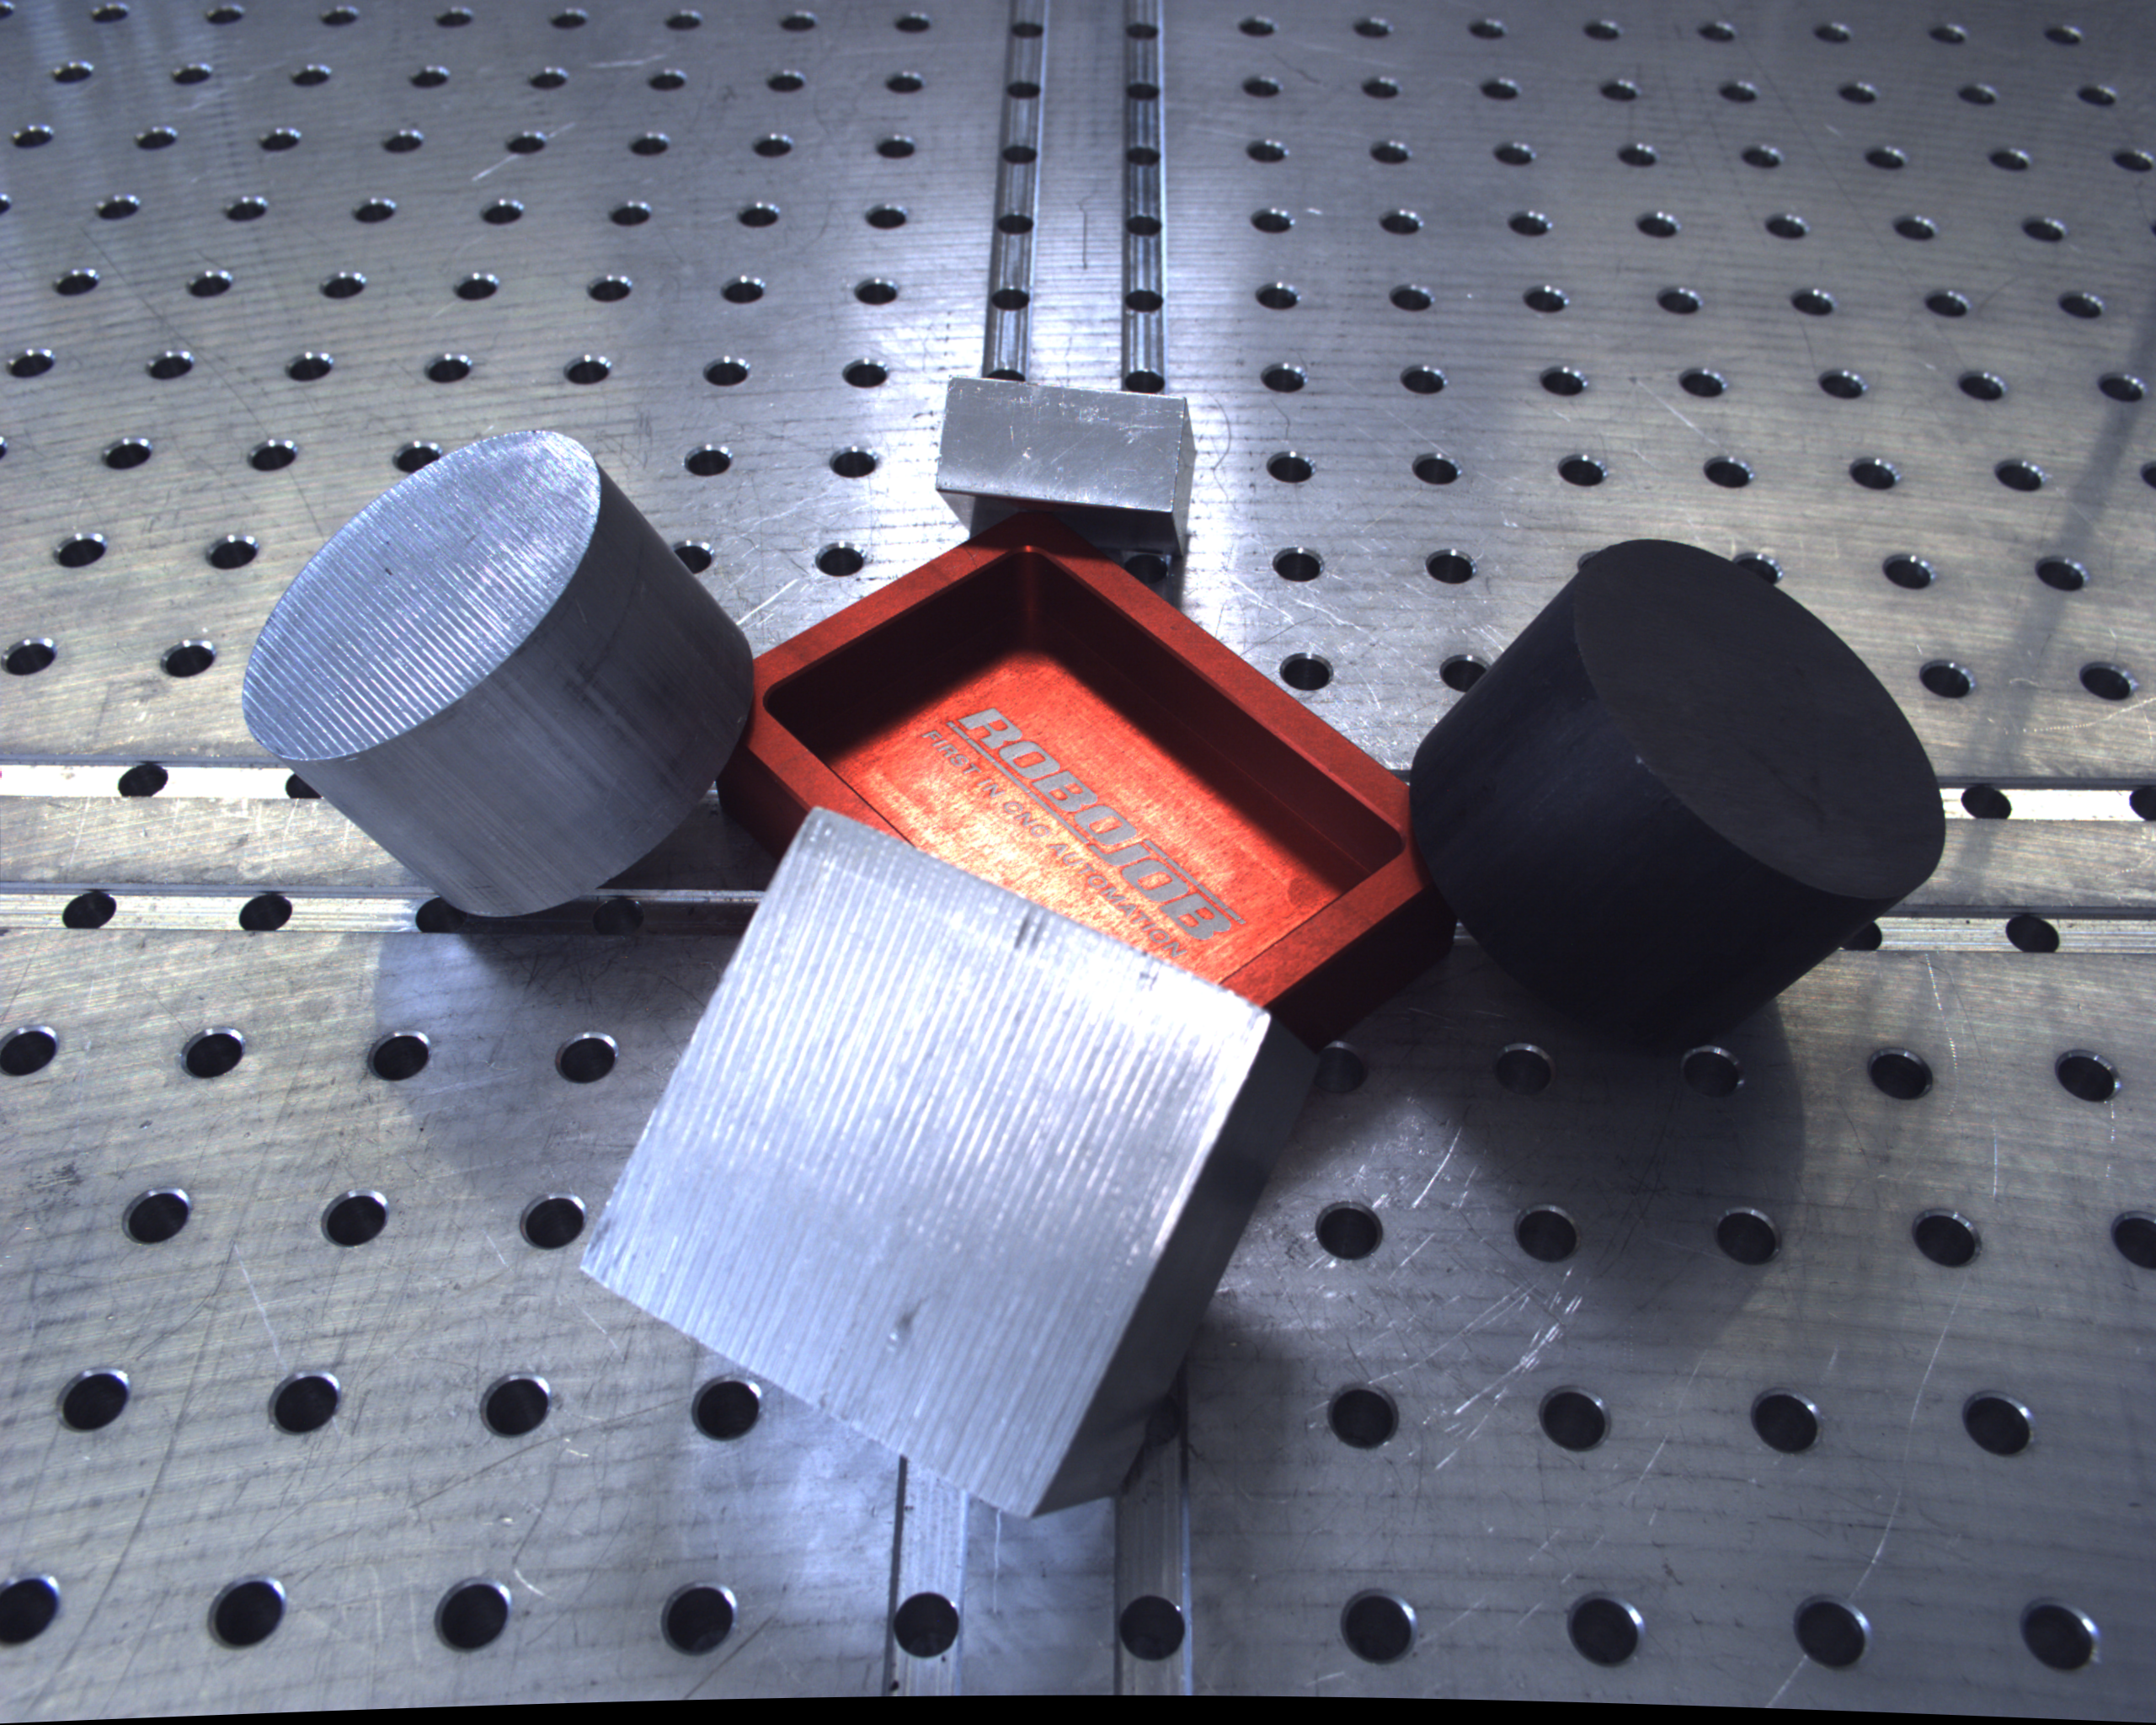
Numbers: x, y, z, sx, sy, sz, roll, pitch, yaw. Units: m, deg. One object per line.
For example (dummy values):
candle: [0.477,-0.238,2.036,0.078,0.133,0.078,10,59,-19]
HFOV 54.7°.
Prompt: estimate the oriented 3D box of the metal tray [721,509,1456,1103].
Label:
metal tray: [0.000,-0.010,0.411,0.091,0.030,0.130,-34,58,-25]

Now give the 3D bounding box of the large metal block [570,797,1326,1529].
large metal block: [-0.018,0.047,0.329,0.080,0.050,0.080,25,85,19]

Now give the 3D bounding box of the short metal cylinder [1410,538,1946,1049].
short metal cylinder: [0.109,-0.013,0.383,0.081,0.050,0.080,18,47,-20]

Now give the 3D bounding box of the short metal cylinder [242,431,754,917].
short metal cylinder: [-0.110,-0.036,0.402,0.080,0.050,0.080,-17,48,19]

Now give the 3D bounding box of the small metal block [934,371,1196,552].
small metal block: [-0.001,-0.087,0.461,0.050,0.050,0.025,7,88,6]
